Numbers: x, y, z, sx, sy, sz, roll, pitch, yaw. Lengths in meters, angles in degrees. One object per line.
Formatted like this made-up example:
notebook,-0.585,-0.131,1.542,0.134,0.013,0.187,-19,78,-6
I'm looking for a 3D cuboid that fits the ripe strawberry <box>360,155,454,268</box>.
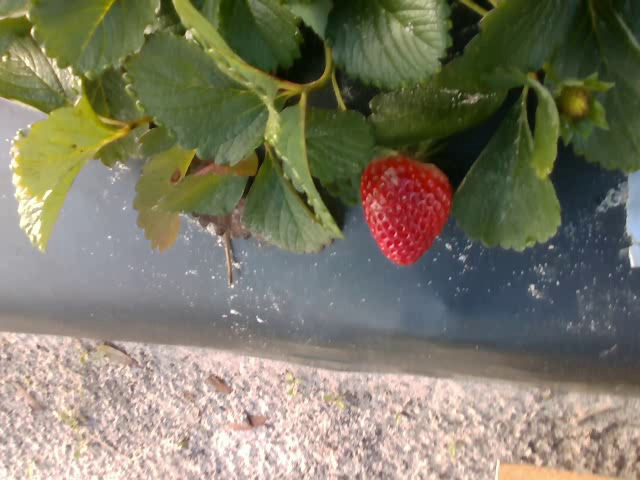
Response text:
ripe strawberry,0.016,-0.005,0.114,0.018,0.023,0.020,9,13,39
